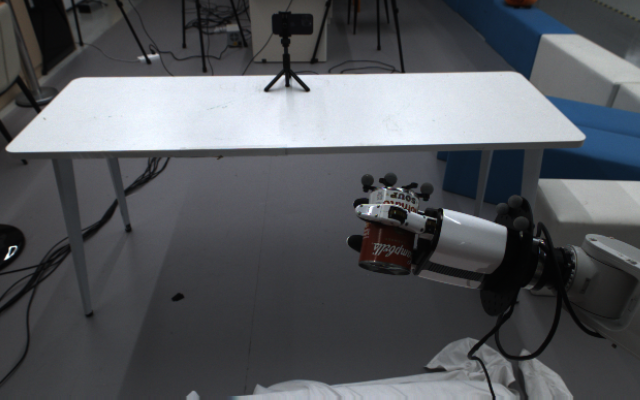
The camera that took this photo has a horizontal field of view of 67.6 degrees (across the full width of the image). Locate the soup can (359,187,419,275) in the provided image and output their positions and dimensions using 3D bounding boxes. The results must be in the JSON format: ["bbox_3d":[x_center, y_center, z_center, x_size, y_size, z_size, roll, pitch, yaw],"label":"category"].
[{"bbox_3d":[0.092,0.041,0.629,0.067,0.067,0.101,8,72,9],"label":"soup can"}]
